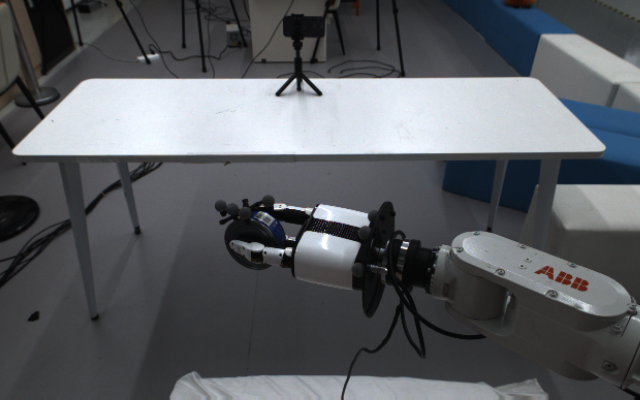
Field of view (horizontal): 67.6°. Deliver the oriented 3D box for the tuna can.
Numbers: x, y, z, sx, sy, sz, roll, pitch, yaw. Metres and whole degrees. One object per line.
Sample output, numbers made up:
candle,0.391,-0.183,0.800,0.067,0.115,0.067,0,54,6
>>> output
tuna can,-0.088,0.059,0.708,0.085,0.085,0.034,13,28,15
